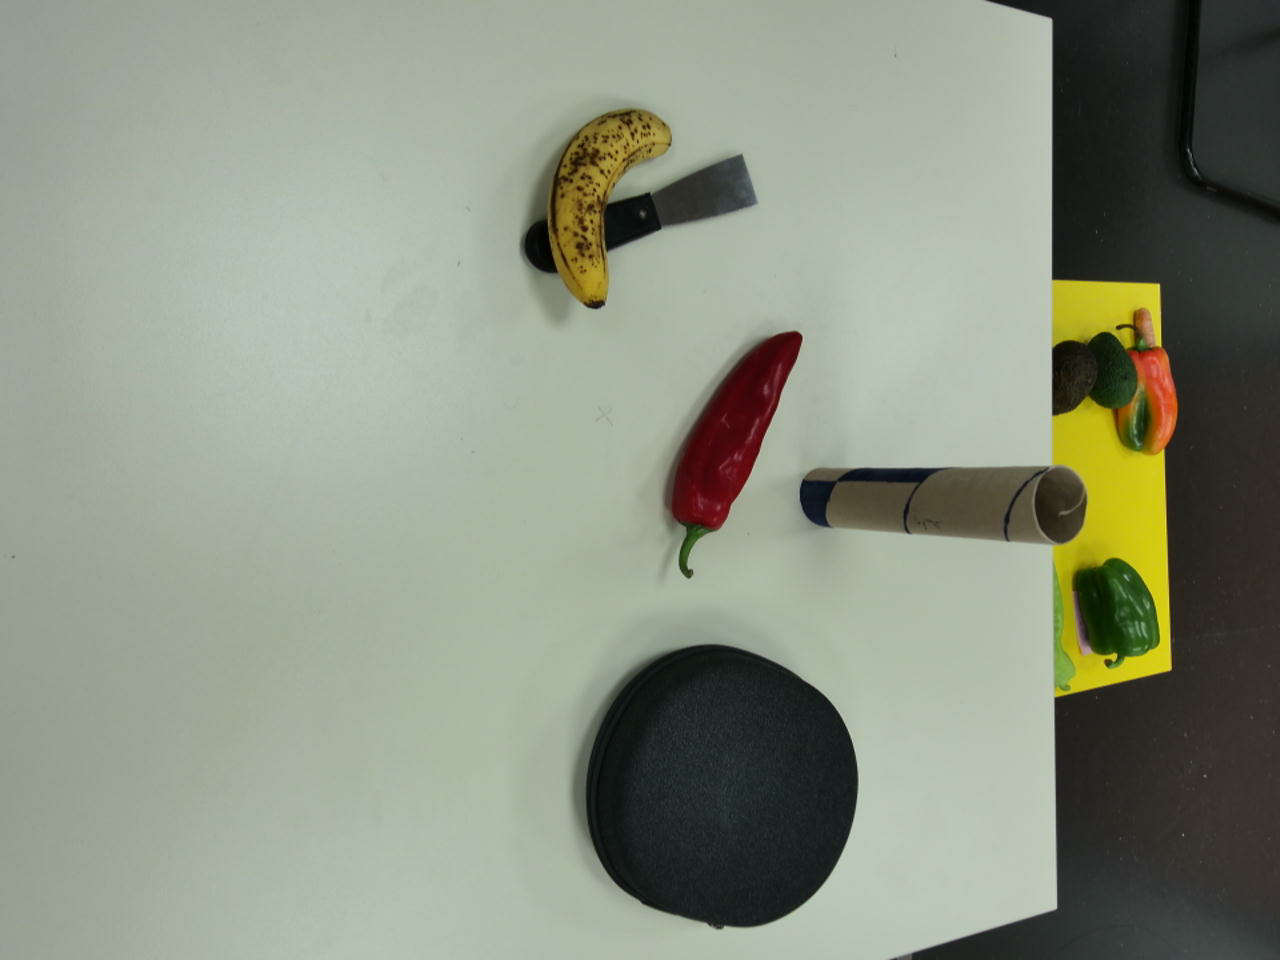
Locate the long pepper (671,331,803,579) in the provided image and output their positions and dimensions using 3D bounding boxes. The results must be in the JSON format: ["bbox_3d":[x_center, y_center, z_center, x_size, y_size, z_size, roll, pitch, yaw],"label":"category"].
[{"bbox_3d":[0.065,-0.027,0.724,0.050,0.043,0.211,34,75,-24],"label":"long pepper"}]
